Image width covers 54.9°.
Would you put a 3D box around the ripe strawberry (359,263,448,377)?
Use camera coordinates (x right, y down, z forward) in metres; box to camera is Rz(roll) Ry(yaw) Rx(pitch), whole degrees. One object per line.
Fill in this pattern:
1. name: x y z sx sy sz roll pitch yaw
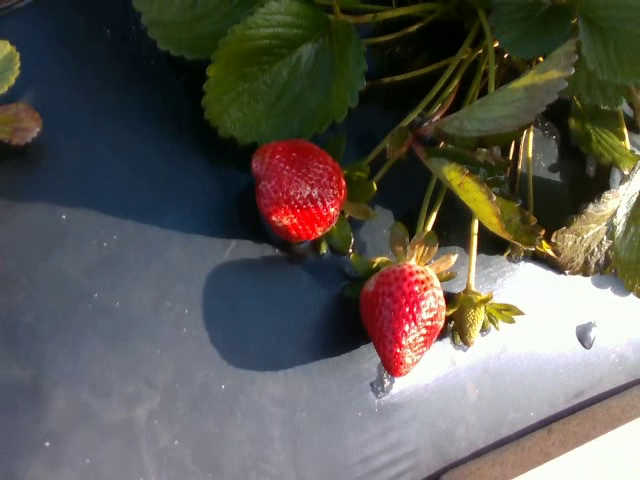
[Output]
1. ripe strawberry: 0.036 0.033 0.249 0.043 0.053 0.038 35 -45 -28

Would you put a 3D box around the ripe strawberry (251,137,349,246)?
1. ripe strawberry: -0.010 -0.021 0.253 0.039 0.048 0.054 16 11 38
